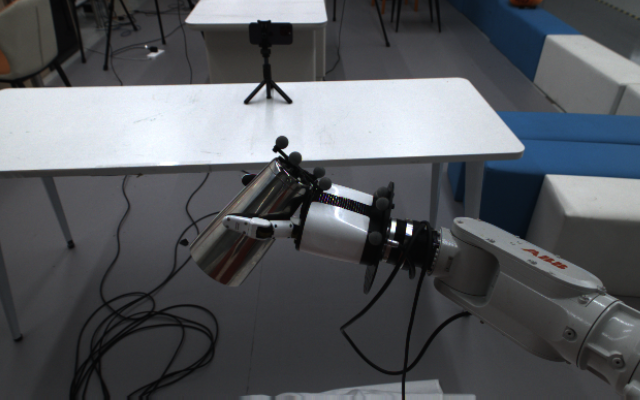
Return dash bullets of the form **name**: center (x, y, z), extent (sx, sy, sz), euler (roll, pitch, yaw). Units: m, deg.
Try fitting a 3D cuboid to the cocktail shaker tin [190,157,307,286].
- **cocktail shaker tin**: center (-0.090, 0.023, 0.665), extent (0.093, 0.170, 0.093), euler (41, 13, -11)
